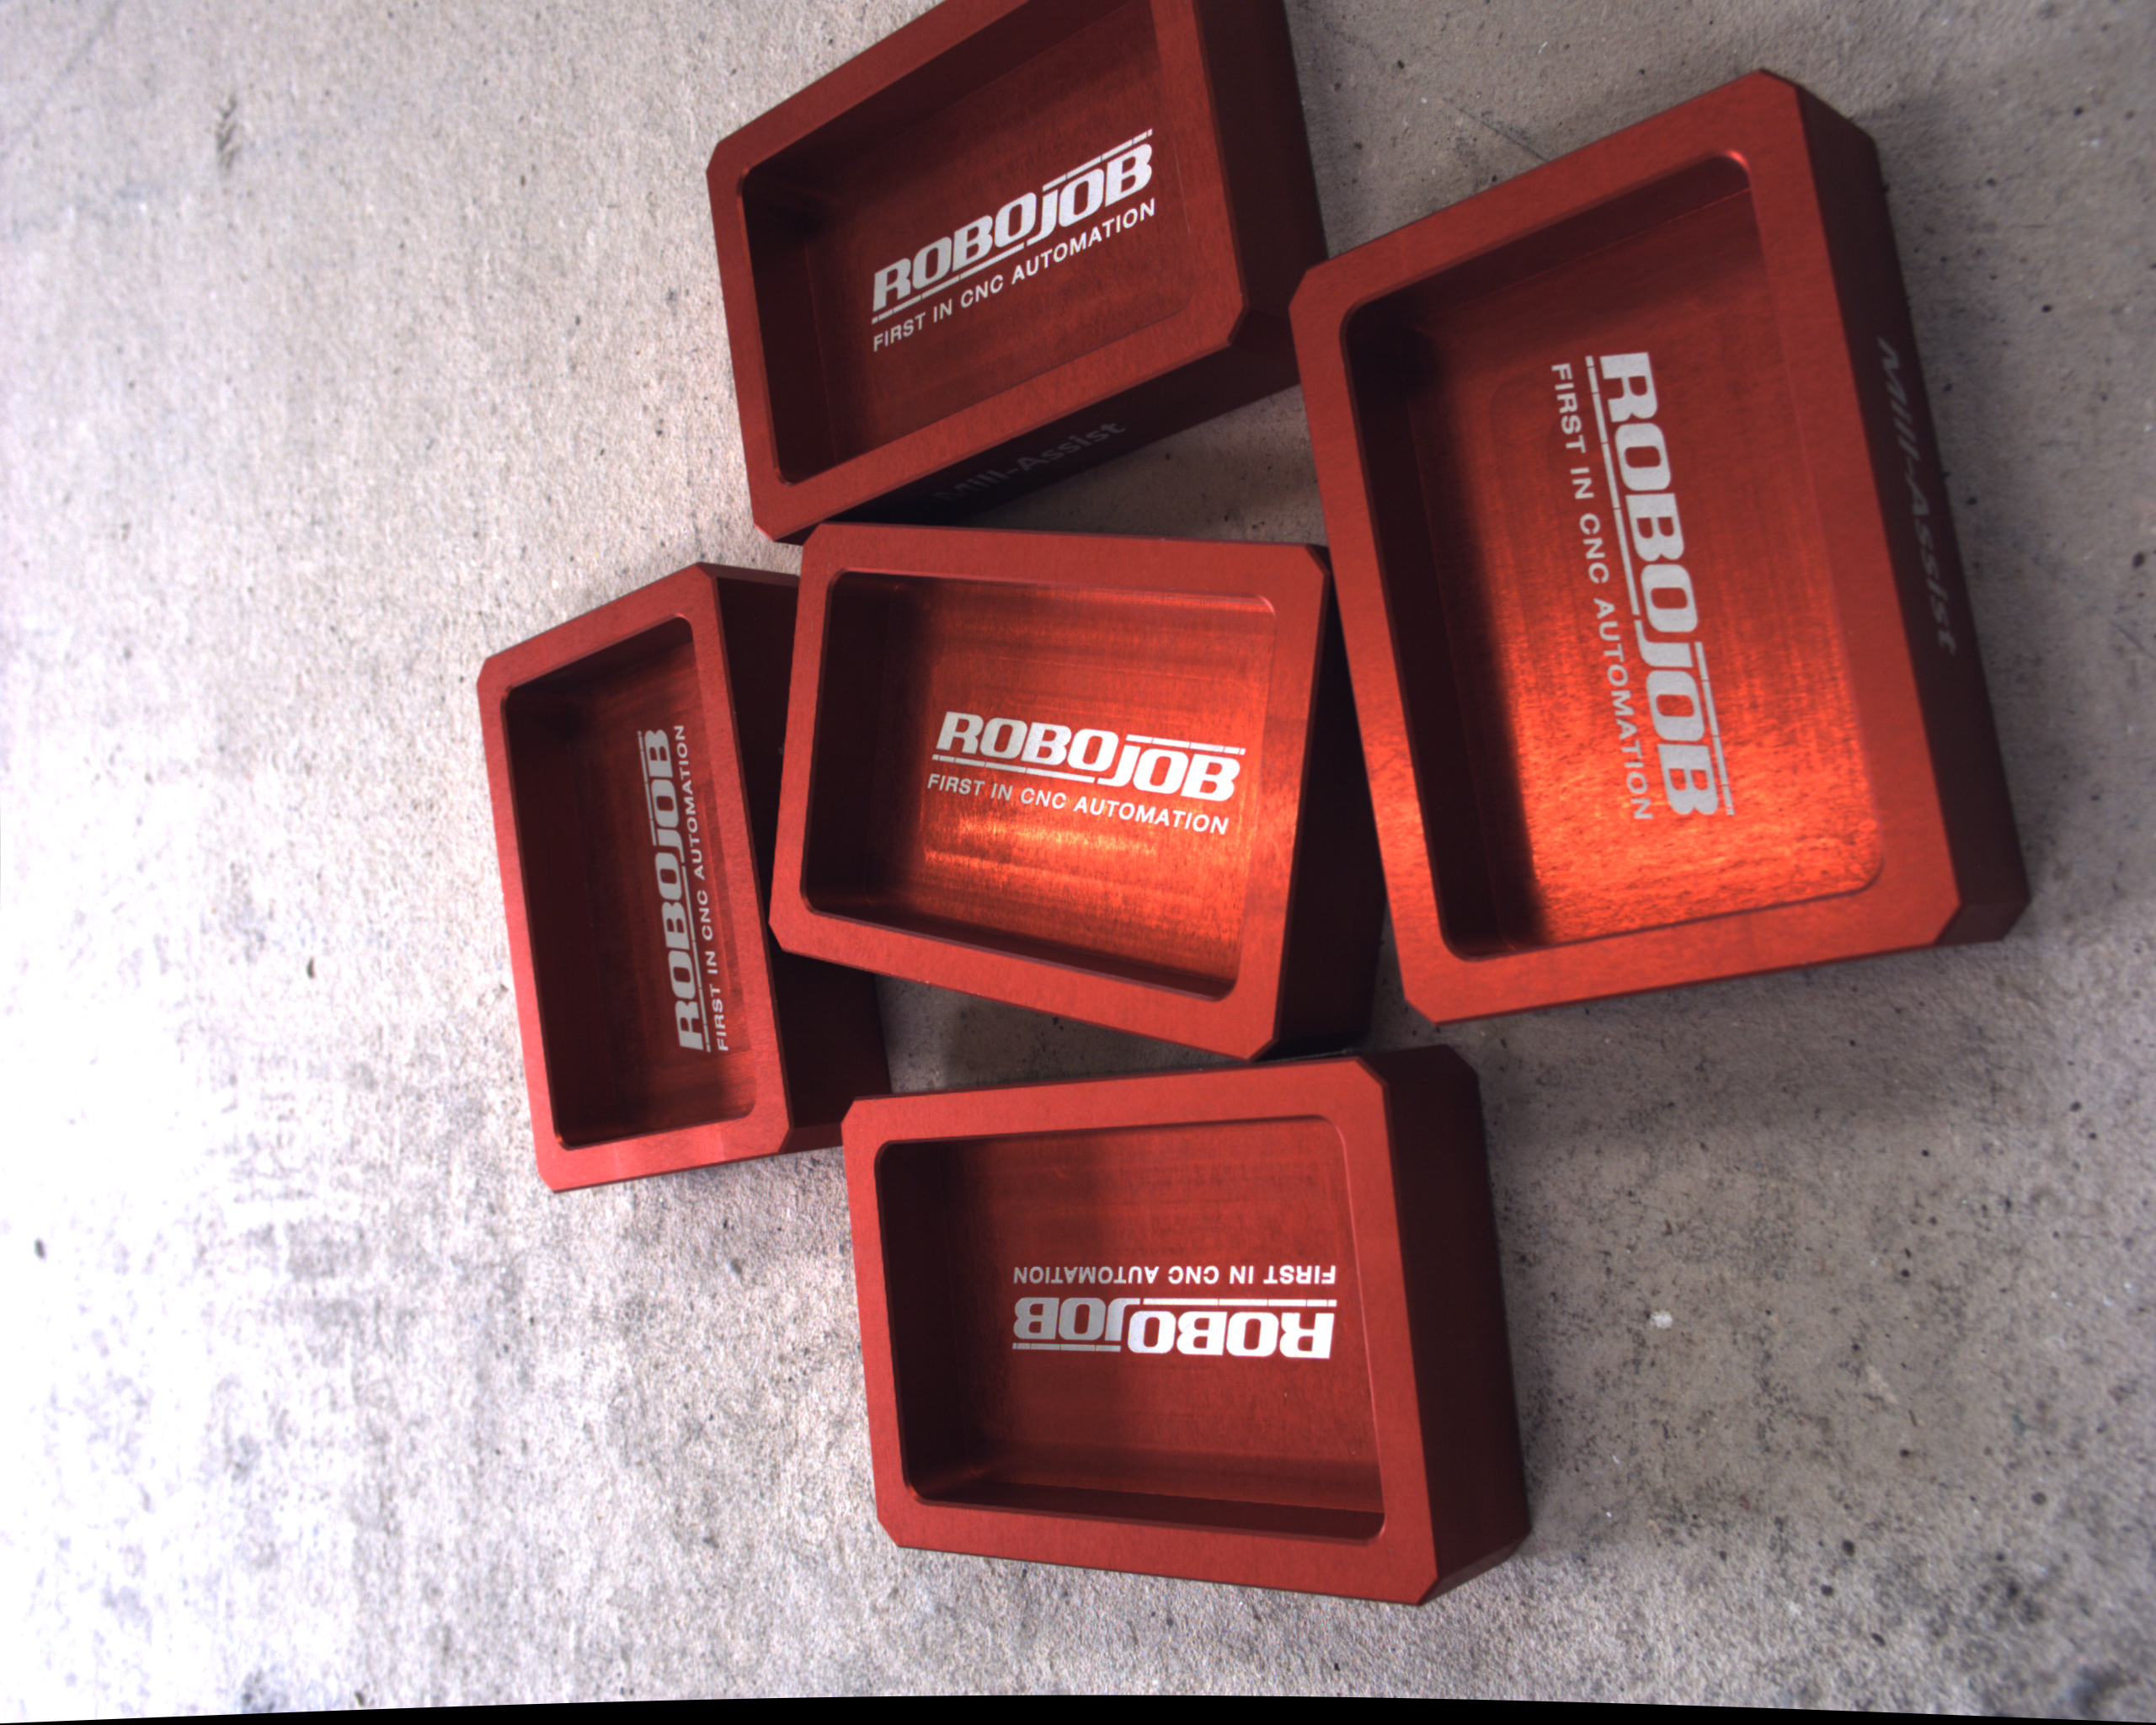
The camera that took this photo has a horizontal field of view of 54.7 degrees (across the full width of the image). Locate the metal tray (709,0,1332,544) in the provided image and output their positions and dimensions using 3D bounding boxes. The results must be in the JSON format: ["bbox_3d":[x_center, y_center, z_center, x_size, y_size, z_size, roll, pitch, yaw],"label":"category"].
[{"bbox_3d":[-0.016,-0.122,0.417,0.130,0.030,0.090,-14,81,39],"label":"metal tray"}]

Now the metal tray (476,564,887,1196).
[{"bbox_3d":[-0.093,0.006,0.480,0.090,0.030,0.129,-15,81,39],"label":"metal tray"}]

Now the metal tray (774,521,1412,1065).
[{"bbox_3d":[-0.002,-0.018,0.405,0.130,0.030,0.089,10,98,40],"label":"metal tray"}]

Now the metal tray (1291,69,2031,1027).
[{"bbox_3d":[0.088,-0.044,0.331,0.090,0.030,0.129,-14,81,40],"label":"metal tray"}]

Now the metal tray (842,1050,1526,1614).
[{"bbox_3d":[0.014,0.085,0.391,0.130,0.030,0.089,-9,84,40],"label":"metal tray"}]
